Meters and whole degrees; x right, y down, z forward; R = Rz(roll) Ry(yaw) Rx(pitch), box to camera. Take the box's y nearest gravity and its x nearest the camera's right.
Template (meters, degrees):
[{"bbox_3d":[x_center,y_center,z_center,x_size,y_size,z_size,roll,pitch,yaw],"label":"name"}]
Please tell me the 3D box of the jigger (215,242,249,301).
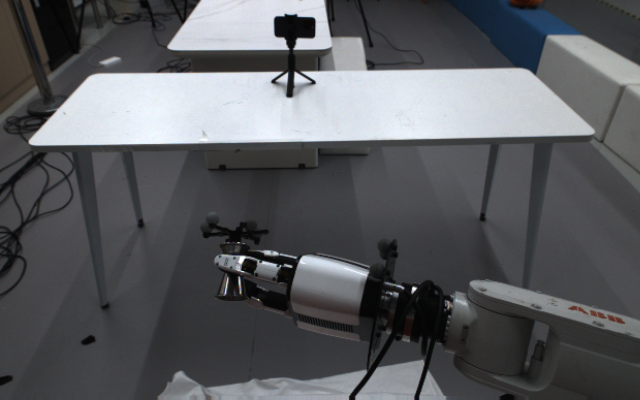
[{"bbox_3d":[-0.110,0.091,0.617,0.043,0.043,0.071,1,70,-2],"label":"jigger"}]
